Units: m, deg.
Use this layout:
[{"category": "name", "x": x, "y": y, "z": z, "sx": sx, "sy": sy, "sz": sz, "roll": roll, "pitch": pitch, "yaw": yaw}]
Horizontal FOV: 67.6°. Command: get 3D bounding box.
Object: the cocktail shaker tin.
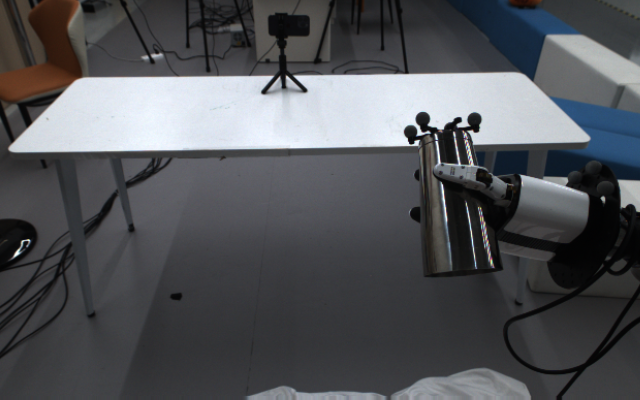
[{"category": "cocktail shaker tin", "x": 0.165, "y": 0.005, "z": 0.595, "sx": 0.093, "sy": 0.093, "sz": 0.170, "roll": -3, "pitch": 76, "yaw": -8}]
